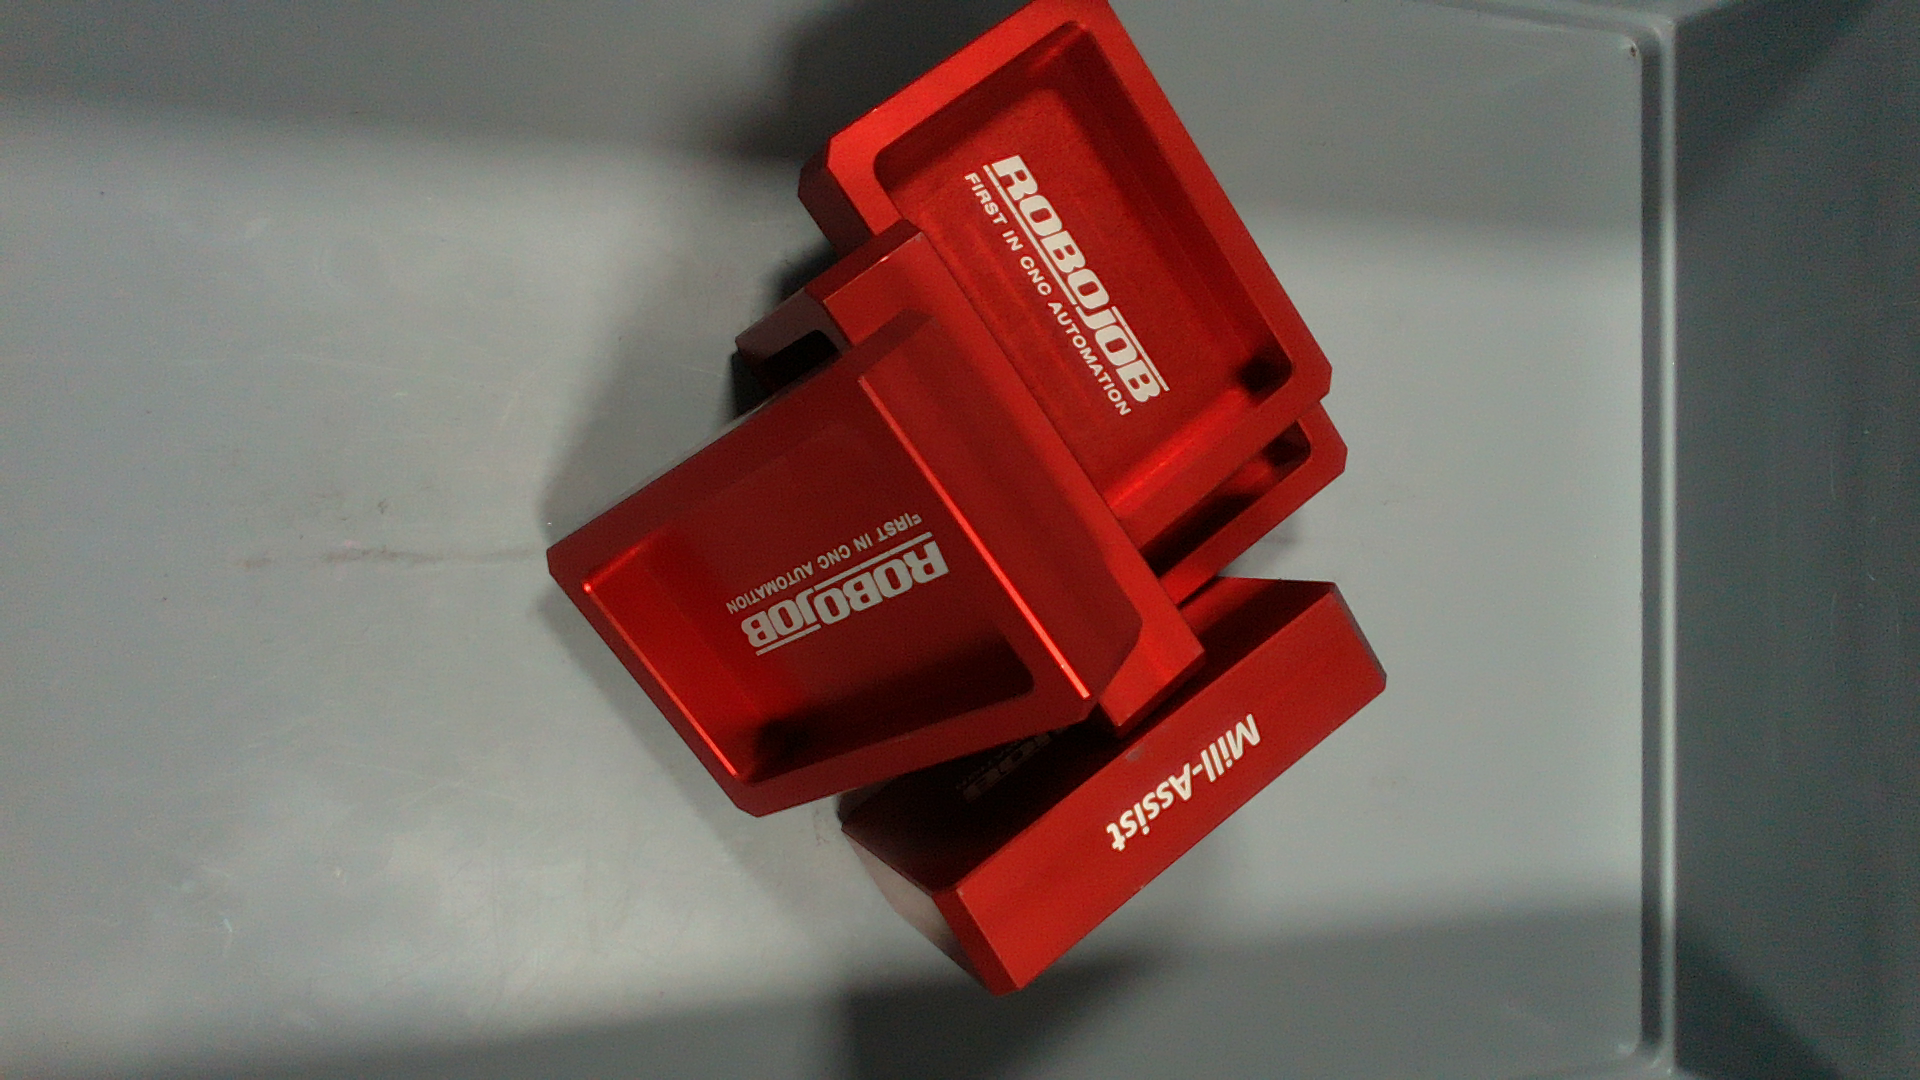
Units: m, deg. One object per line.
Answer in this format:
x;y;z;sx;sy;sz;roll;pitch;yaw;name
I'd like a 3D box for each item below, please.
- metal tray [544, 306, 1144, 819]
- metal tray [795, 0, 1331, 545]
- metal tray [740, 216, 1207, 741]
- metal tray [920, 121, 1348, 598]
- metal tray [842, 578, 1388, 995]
-0.033;0.013;0.326;0.090;0.129;0.030;54;44;-12;metal tray
0.030;-0.068;0.368;0.090;0.030;0.130;-38;102;-15;metal tray
0.000;-0.013;0.357;0.030;0.090;0.130;-39;102;-16;metal tray
0.046;-0.052;0.407;0.090;0.030;0.130;-35;101;-15;metal tray
0.039;0.058;0.372;0.130;0.090;0.030;-34;101;-17;metal tray
